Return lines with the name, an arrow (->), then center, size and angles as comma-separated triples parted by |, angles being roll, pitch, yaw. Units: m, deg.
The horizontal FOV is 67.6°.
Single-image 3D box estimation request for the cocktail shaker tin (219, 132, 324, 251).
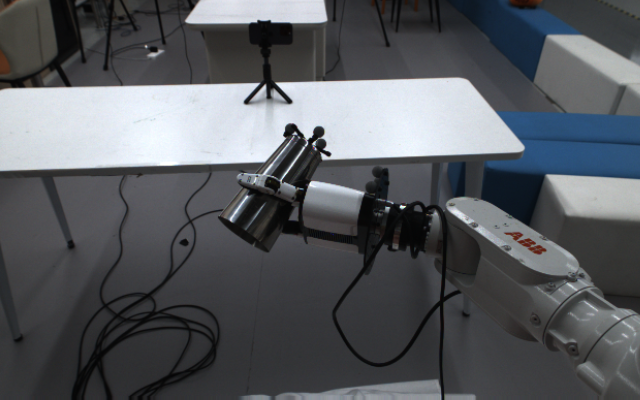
cocktail shaker tin -> -0.070, -0.019, 0.745 | 0.093, 0.093, 0.170 | 24, 69, 28
